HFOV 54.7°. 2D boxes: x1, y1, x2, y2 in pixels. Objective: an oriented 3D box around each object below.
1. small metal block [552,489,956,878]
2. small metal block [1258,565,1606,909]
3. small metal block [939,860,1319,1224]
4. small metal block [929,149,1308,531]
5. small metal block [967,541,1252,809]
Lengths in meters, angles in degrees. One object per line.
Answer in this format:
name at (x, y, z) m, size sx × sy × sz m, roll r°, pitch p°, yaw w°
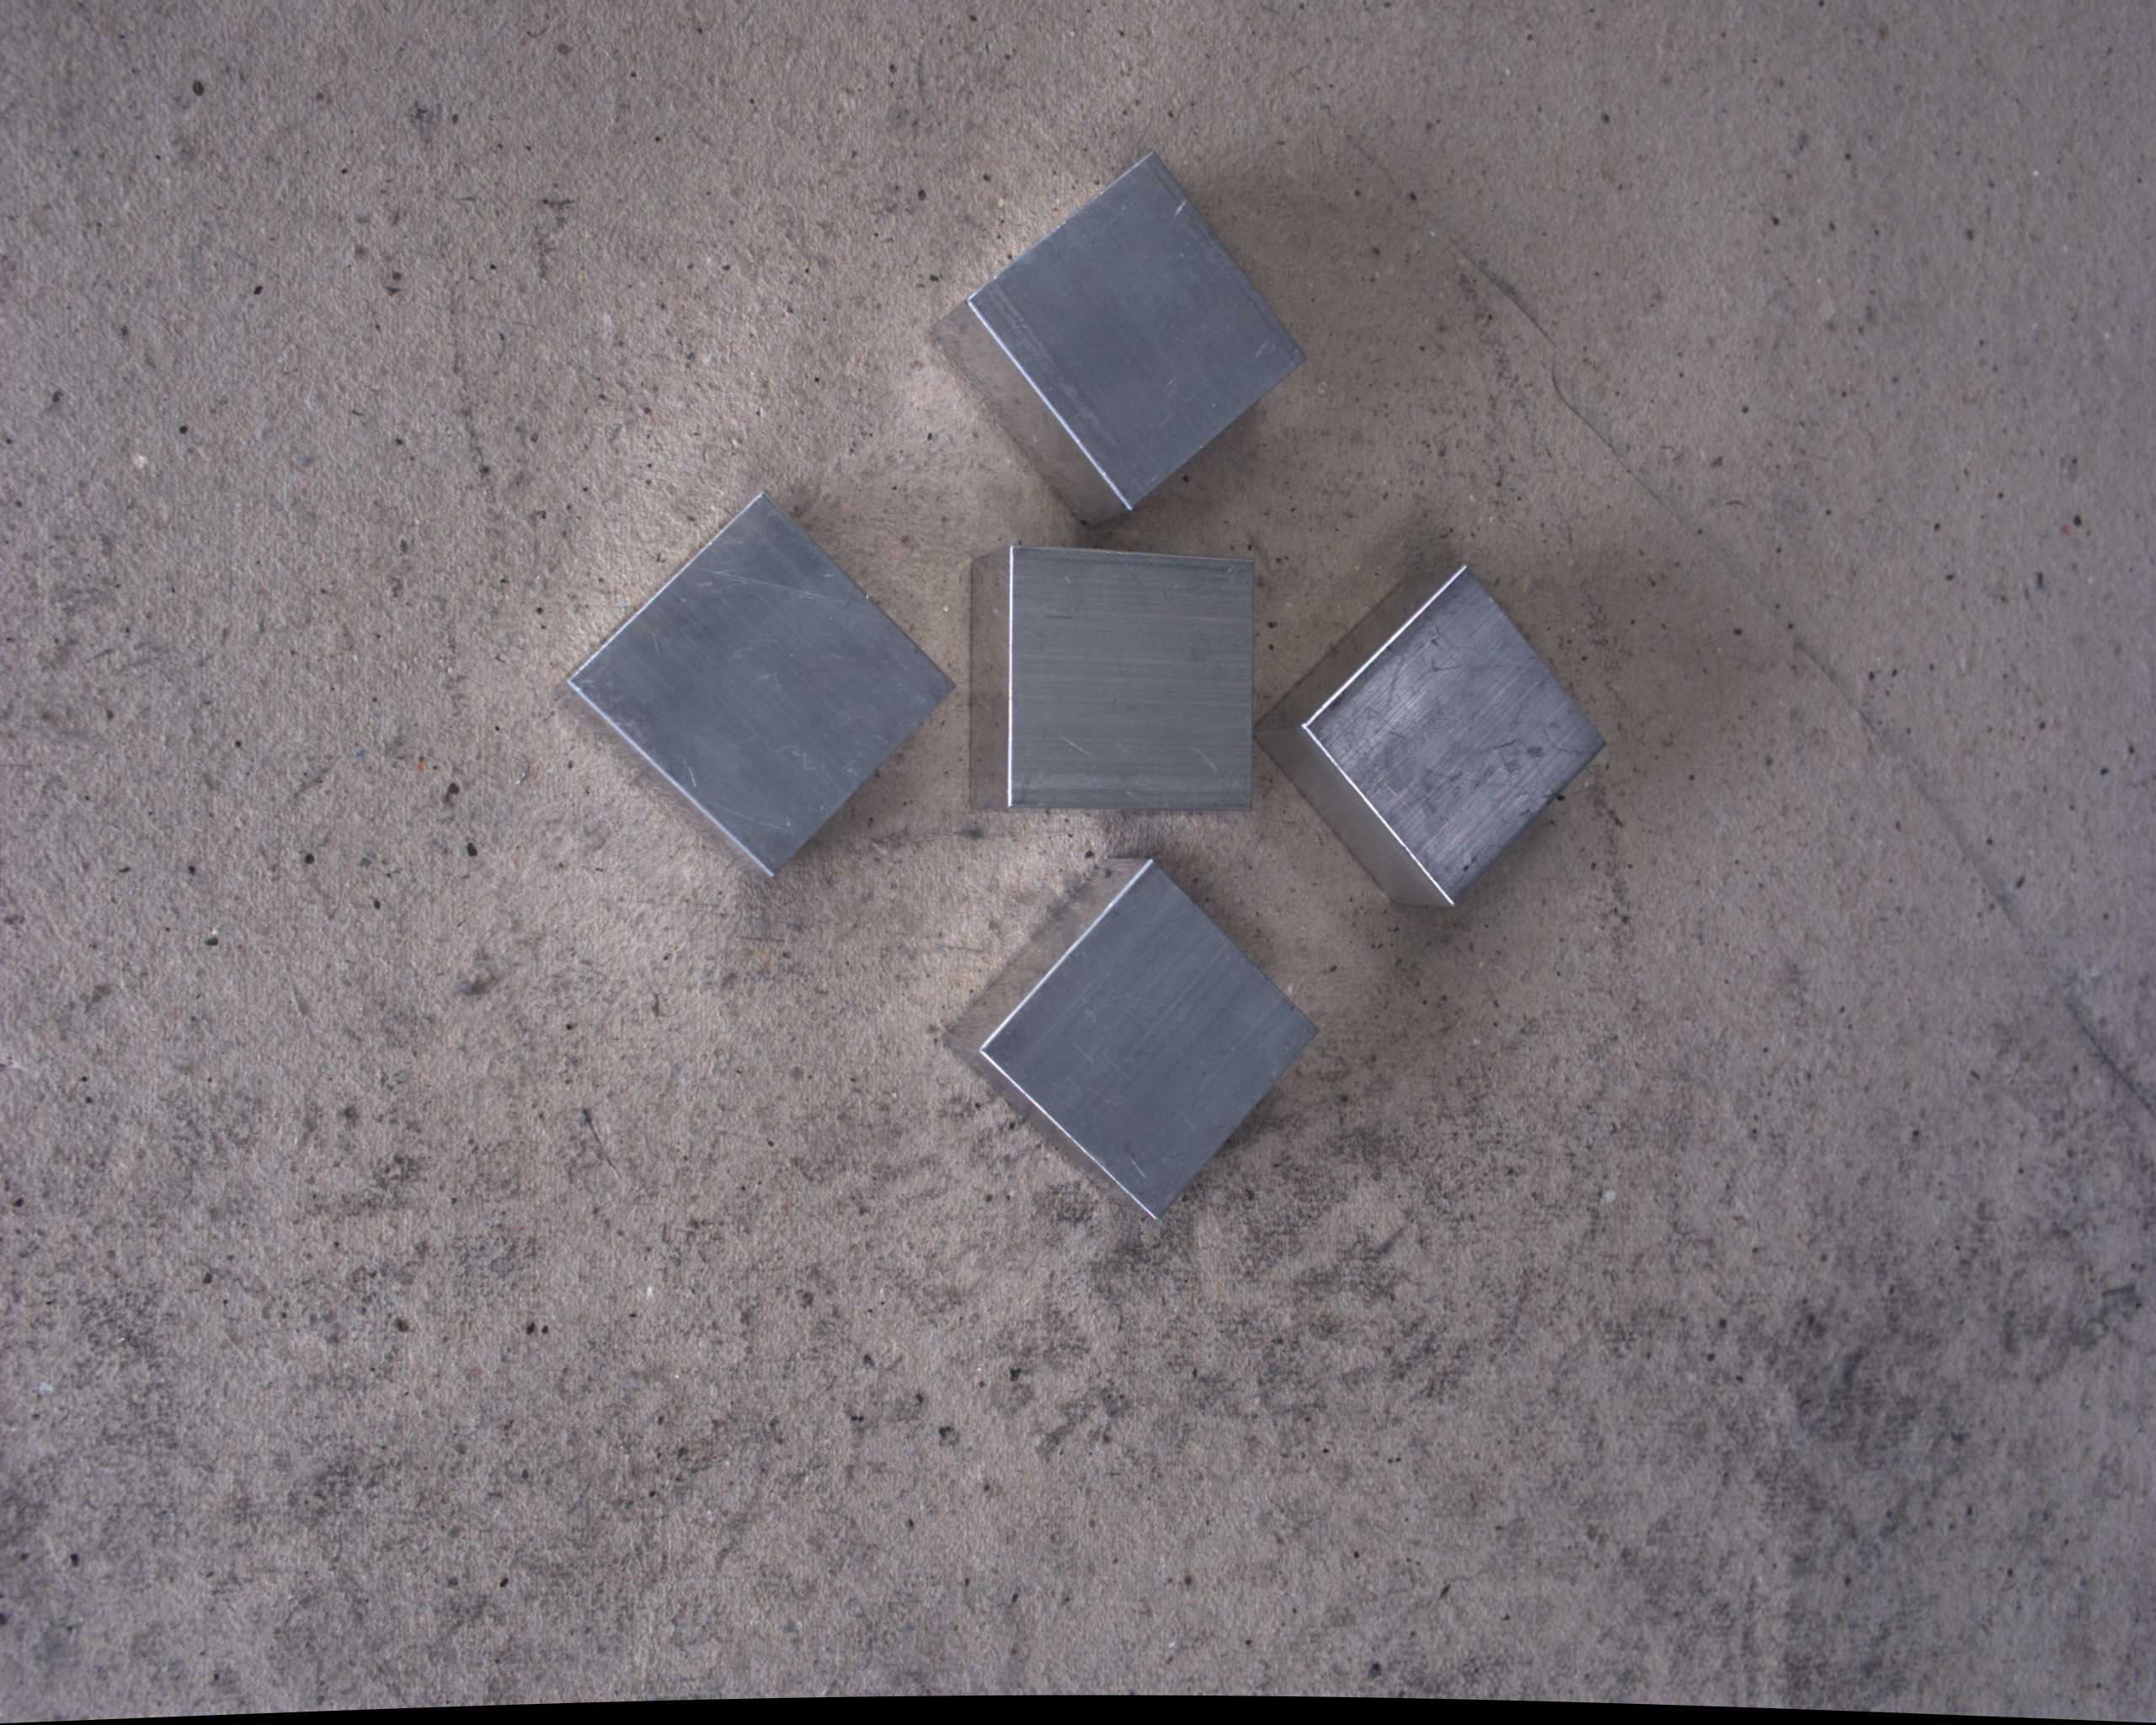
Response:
small metal block at (-0.060, -0.032, 0.388) m, size 0.050 × 0.025 × 0.050 m, roll 45°, pitch 75°, yaw -15°
small metal block at (0.073, -0.026, 0.438) m, size 0.050 × 0.025 × 0.050 m, roll -45°, pitch 104°, yaw -14°
small metal block at (0.010, 0.035, 0.414) m, size 0.050 × 0.025 × 0.050 m, roll 46°, pitch 75°, yaw -15°
small metal block at (0.008, -0.102, 0.412) m, size 0.050 × 0.025 × 0.050 m, roll -43°, pitch 103°, yaw -16°
small metal block at (0.006, -0.035, 0.412) m, size 0.050 × 0.025 × 0.050 m, roll 0°, pitch 90°, yaw -20°
